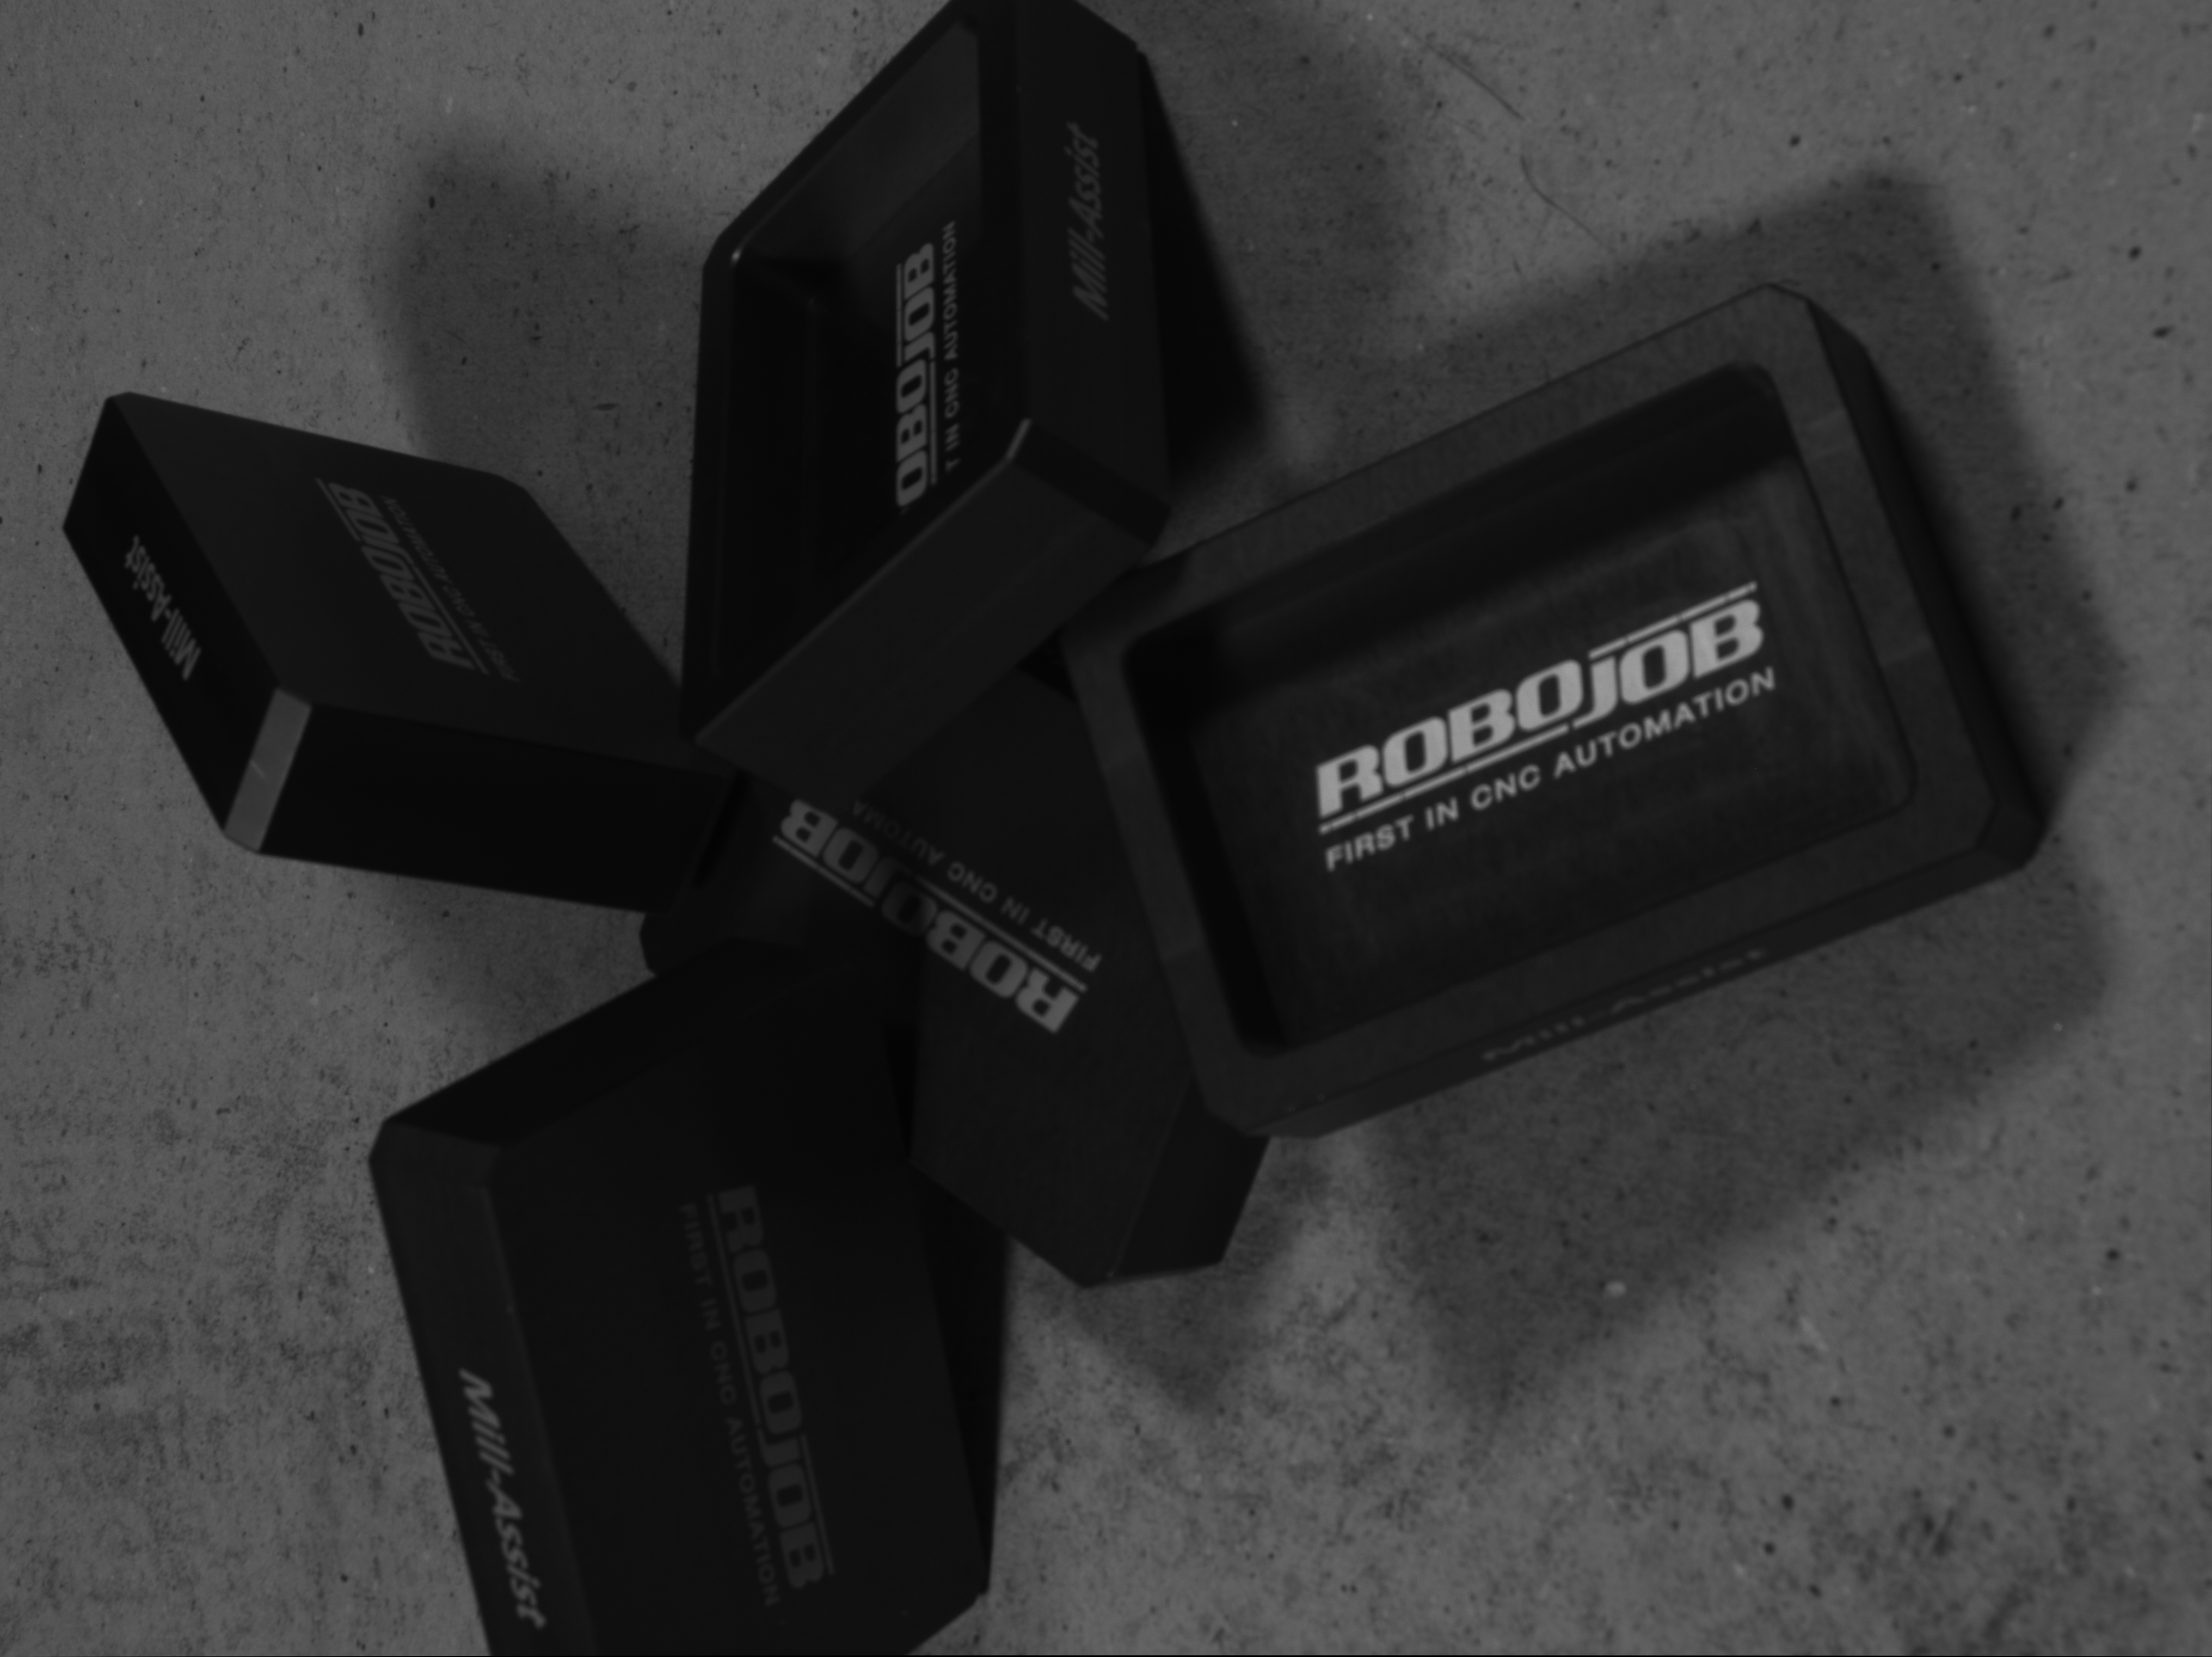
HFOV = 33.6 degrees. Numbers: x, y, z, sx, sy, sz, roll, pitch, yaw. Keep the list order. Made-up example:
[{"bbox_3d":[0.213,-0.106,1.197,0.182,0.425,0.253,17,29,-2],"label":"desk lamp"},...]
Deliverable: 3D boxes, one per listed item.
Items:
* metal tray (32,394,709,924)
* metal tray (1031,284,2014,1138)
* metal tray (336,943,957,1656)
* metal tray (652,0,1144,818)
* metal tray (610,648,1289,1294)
[{"bbox_3d":[-0.141,-0.033,0.690,0.130,0.090,0.030,48,119,48],"label":"metal tray"},{"bbox_3d":[0.061,-0.015,0.562,0.130,0.030,0.090,-23,75,22],"label":"metal tray"},{"bbox_3d":[-0.076,0.096,0.631,0.030,0.090,0.130,7,115,40],"label":"metal tray"},{"bbox_3d":[-0.037,-0.077,0.626,0.090,0.030,0.130,-39,38,32],"label":"metal tray"},{"bbox_3d":[-0.026,0.013,0.654,0.130,0.030,0.090,32,109,35],"label":"metal tray"}]
